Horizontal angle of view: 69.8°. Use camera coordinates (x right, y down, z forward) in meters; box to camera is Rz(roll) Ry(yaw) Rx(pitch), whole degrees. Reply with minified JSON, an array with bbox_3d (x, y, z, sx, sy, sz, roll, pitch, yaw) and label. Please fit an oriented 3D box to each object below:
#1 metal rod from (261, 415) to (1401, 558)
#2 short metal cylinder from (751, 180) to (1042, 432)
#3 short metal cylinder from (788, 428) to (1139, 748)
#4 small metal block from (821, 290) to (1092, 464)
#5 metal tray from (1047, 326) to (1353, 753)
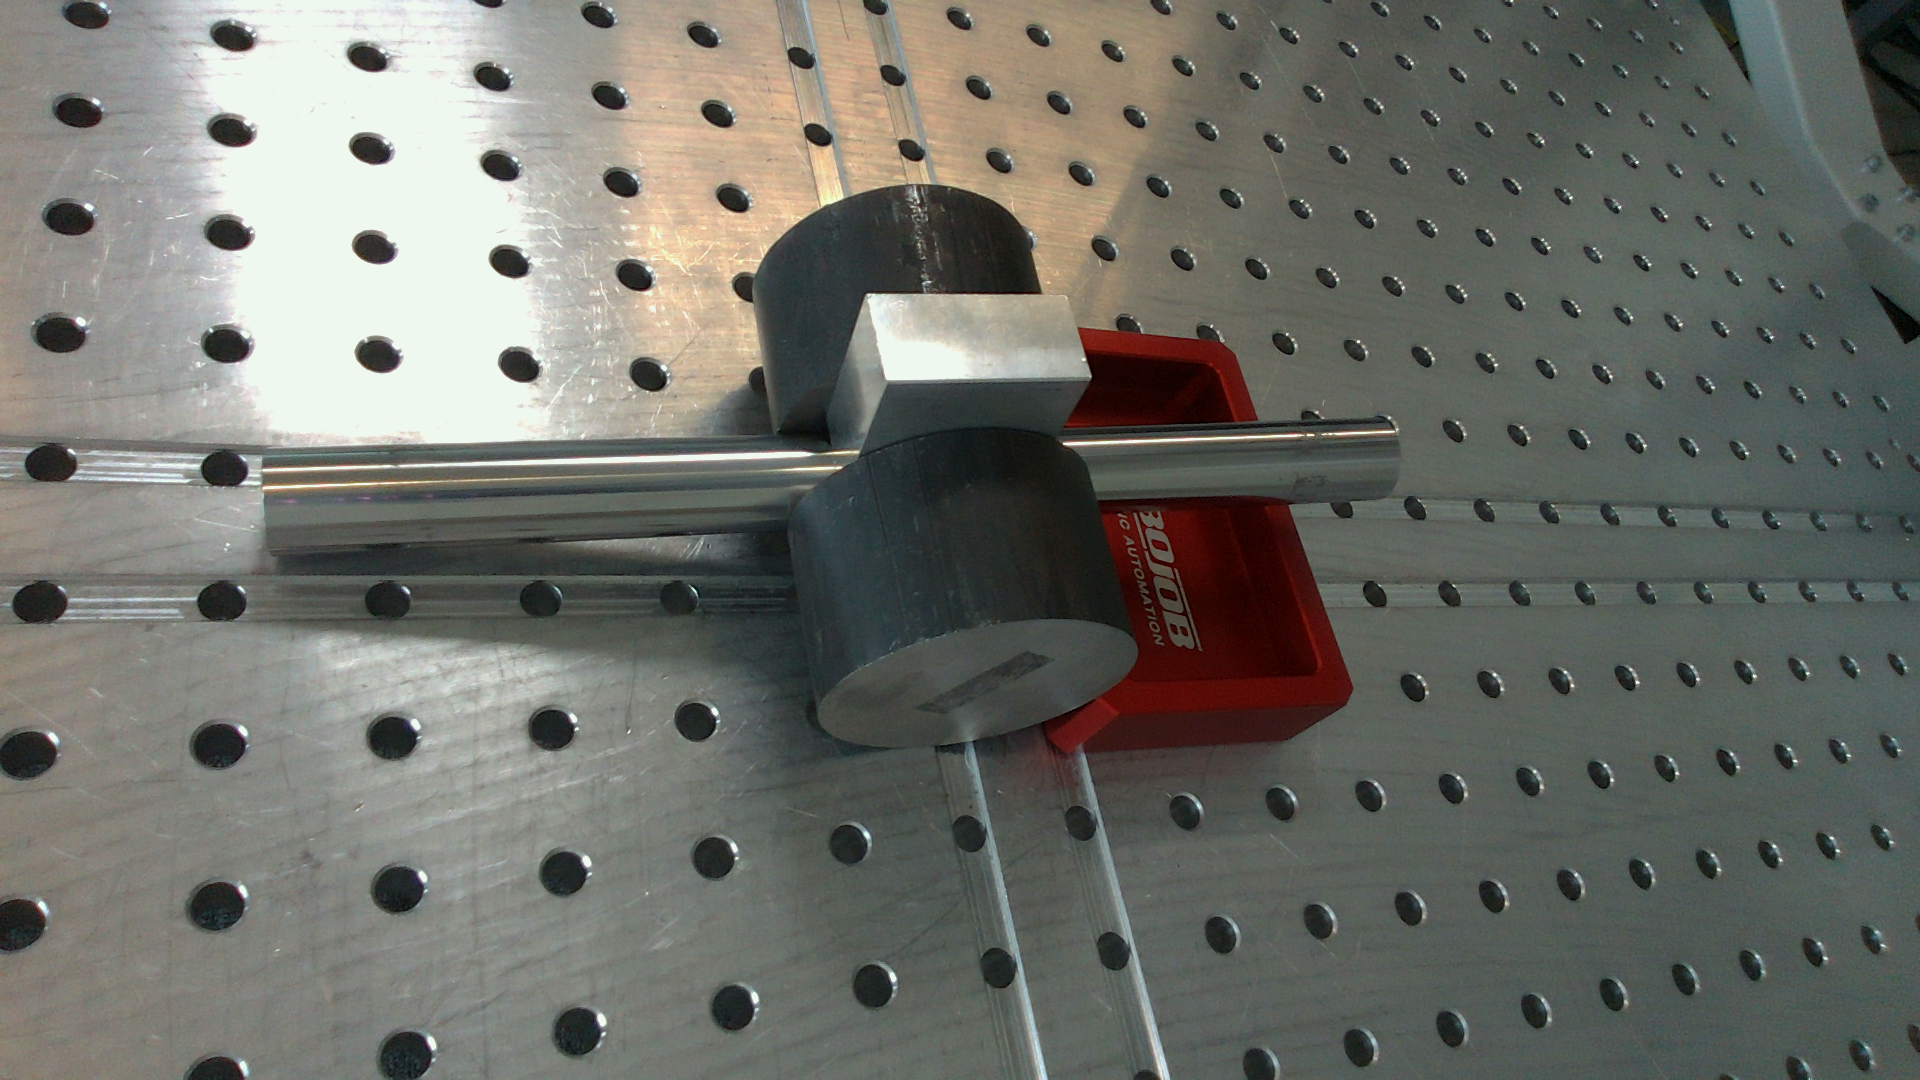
[{"bbox_3d":[-0.016,-0.017,0.364,0.301,0.025,0.025,-3,63,-20],"label":"metal rod"},{"bbox_3d":[-0.014,-0.053,0.380,0.080,0.080,0.050,1,61,-28],"label":"short metal cylinder"},{"bbox_3d":[0.000,0.015,0.348,0.080,0.080,0.050,1,61,-27],"label":"short metal cylinder"},{"bbox_3d":[-0.003,-0.035,0.336,0.050,0.050,0.025,-4,63,-20],"label":"small metal block"},{"bbox_3d":[0.058,-0.003,0.422,0.090,0.030,0.130,1,61,-28],"label":"metal tray"}]
